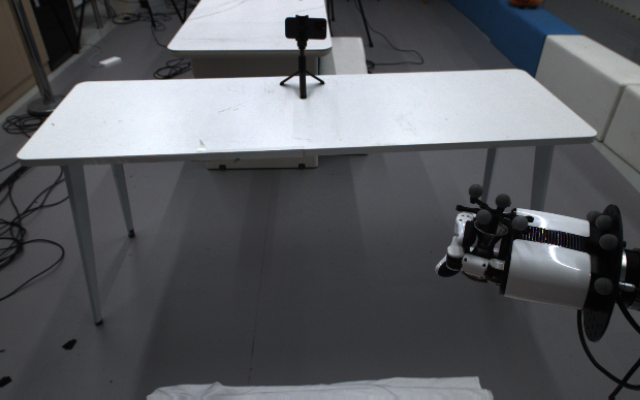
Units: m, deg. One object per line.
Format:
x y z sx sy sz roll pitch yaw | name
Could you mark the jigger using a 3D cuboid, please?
0.204 0.062 0.599 0.043 0.071 0.043 6 26 -3 | jigger
